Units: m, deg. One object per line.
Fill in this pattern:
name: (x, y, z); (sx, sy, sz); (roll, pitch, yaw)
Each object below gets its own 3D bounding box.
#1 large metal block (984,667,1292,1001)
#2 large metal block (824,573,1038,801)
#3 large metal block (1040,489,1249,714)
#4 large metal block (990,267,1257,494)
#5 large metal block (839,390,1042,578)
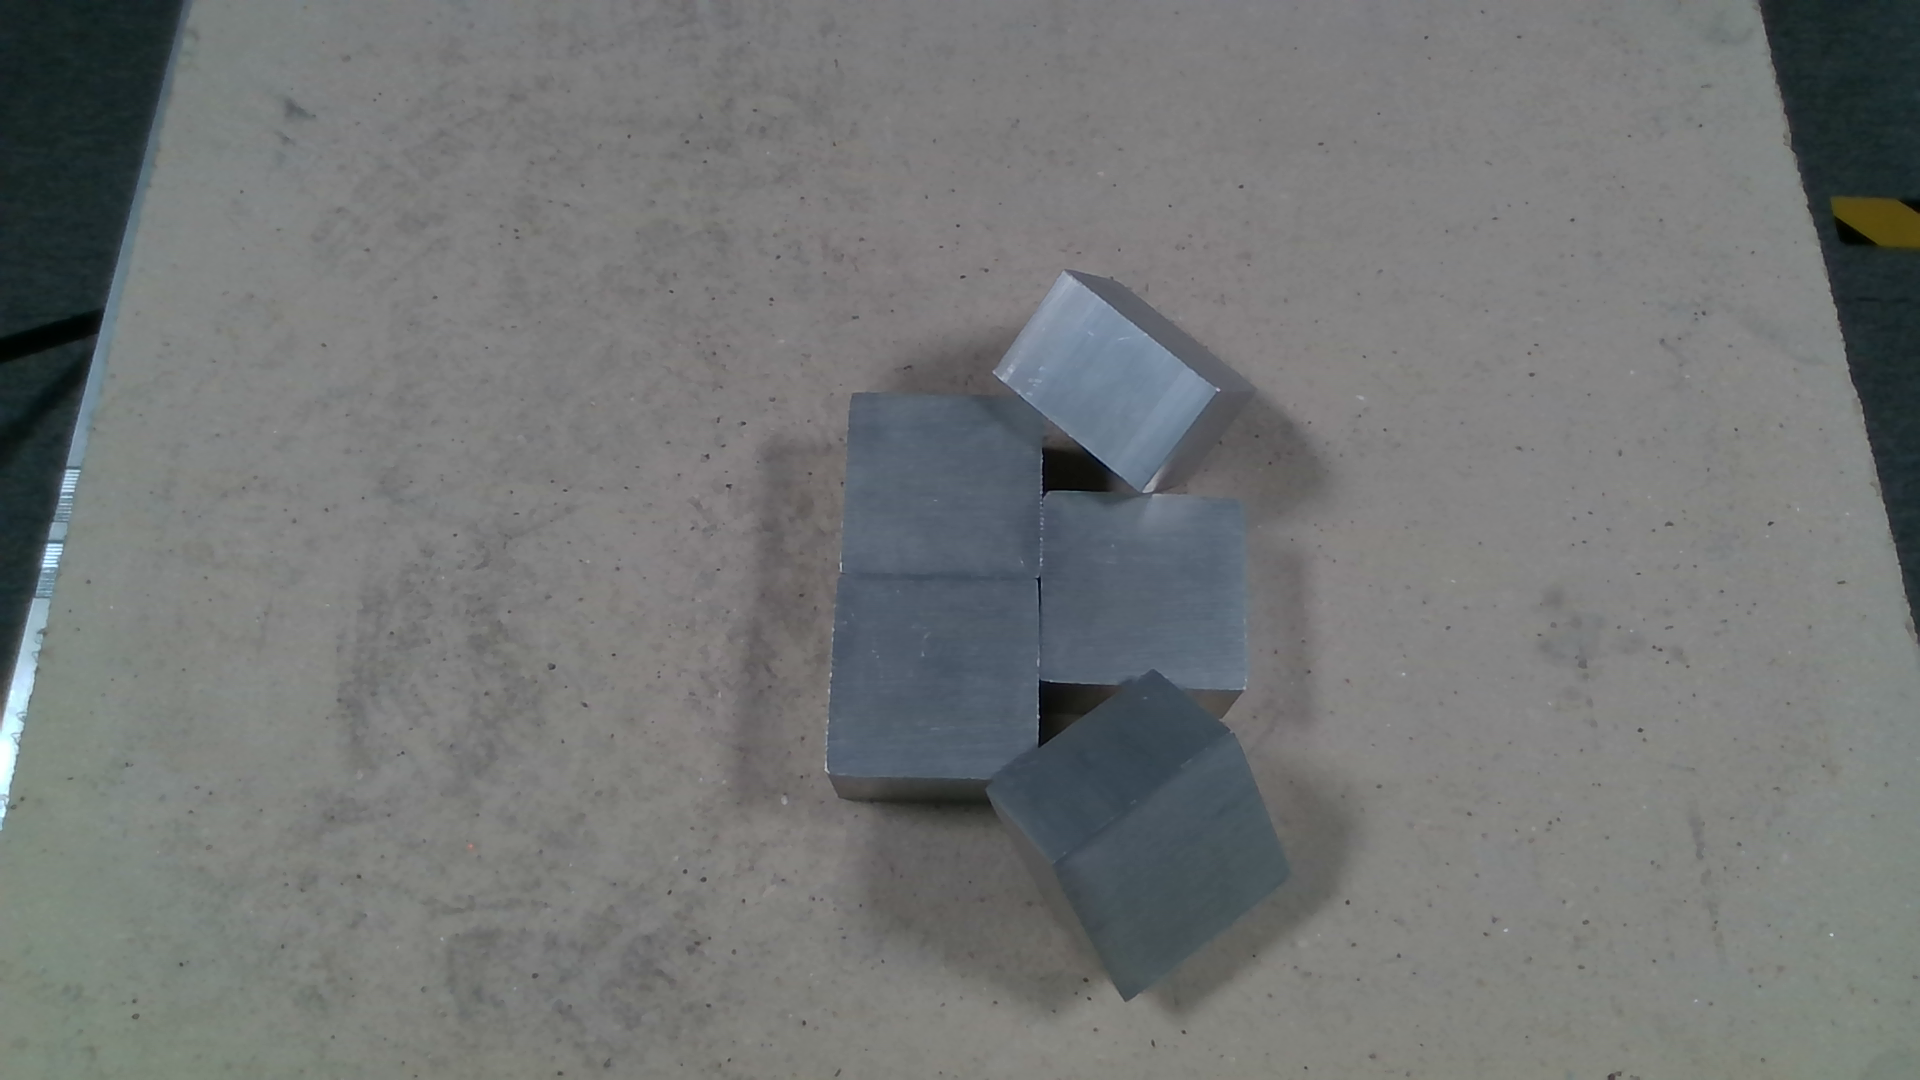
large metal block: (0.067, 0.109, 0.514); (0.080, 0.080, 0.050); (-34, 33, -11)
large metal block: (-0.010, 0.060, 0.552); (0.080, 0.050, 0.080); (1, 70, 0)
large metal block: (0.073, 0.027, 0.566); (0.080, 0.050, 0.080); (3, 70, 1)
large metal block: (0.071, -0.067, 0.576); (0.080, 0.080, 0.050); (41, 109, 13)
large metal block: (-0.007, -0.015, 0.580); (0.080, 0.050, 0.080); (1, 70, 0)
